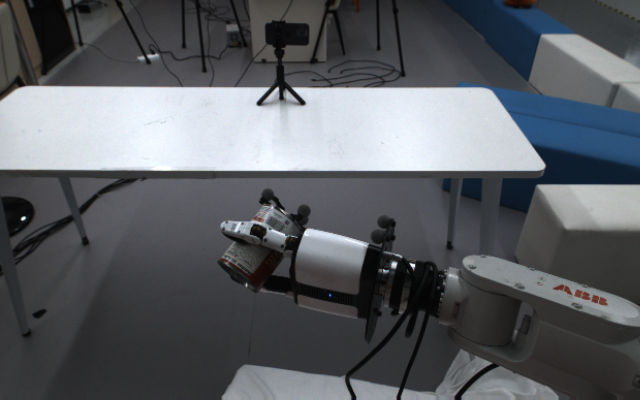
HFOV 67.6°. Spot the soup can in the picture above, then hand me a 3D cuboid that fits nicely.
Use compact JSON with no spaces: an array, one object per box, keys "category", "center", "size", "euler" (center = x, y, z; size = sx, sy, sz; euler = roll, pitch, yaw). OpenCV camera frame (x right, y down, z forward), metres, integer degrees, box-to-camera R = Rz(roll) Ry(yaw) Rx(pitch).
[{"category":"soup can","center":[-0.078,0.064,0.648],"size":[0.067,0.067,0.101],"euler":[25,66,30]}]
